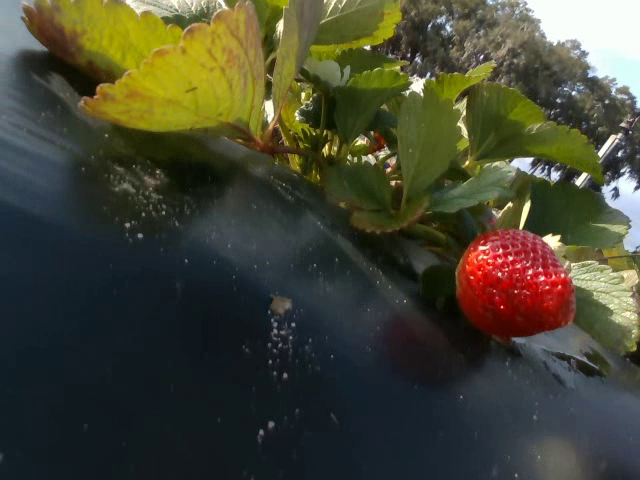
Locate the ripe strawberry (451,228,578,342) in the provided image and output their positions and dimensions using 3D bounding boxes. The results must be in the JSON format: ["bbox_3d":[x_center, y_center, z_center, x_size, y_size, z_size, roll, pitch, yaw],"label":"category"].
[{"bbox_3d":[0.064,0.013,0.178,0.041,0.041,0.047,0,8,-21],"label":"ripe strawberry"}]
